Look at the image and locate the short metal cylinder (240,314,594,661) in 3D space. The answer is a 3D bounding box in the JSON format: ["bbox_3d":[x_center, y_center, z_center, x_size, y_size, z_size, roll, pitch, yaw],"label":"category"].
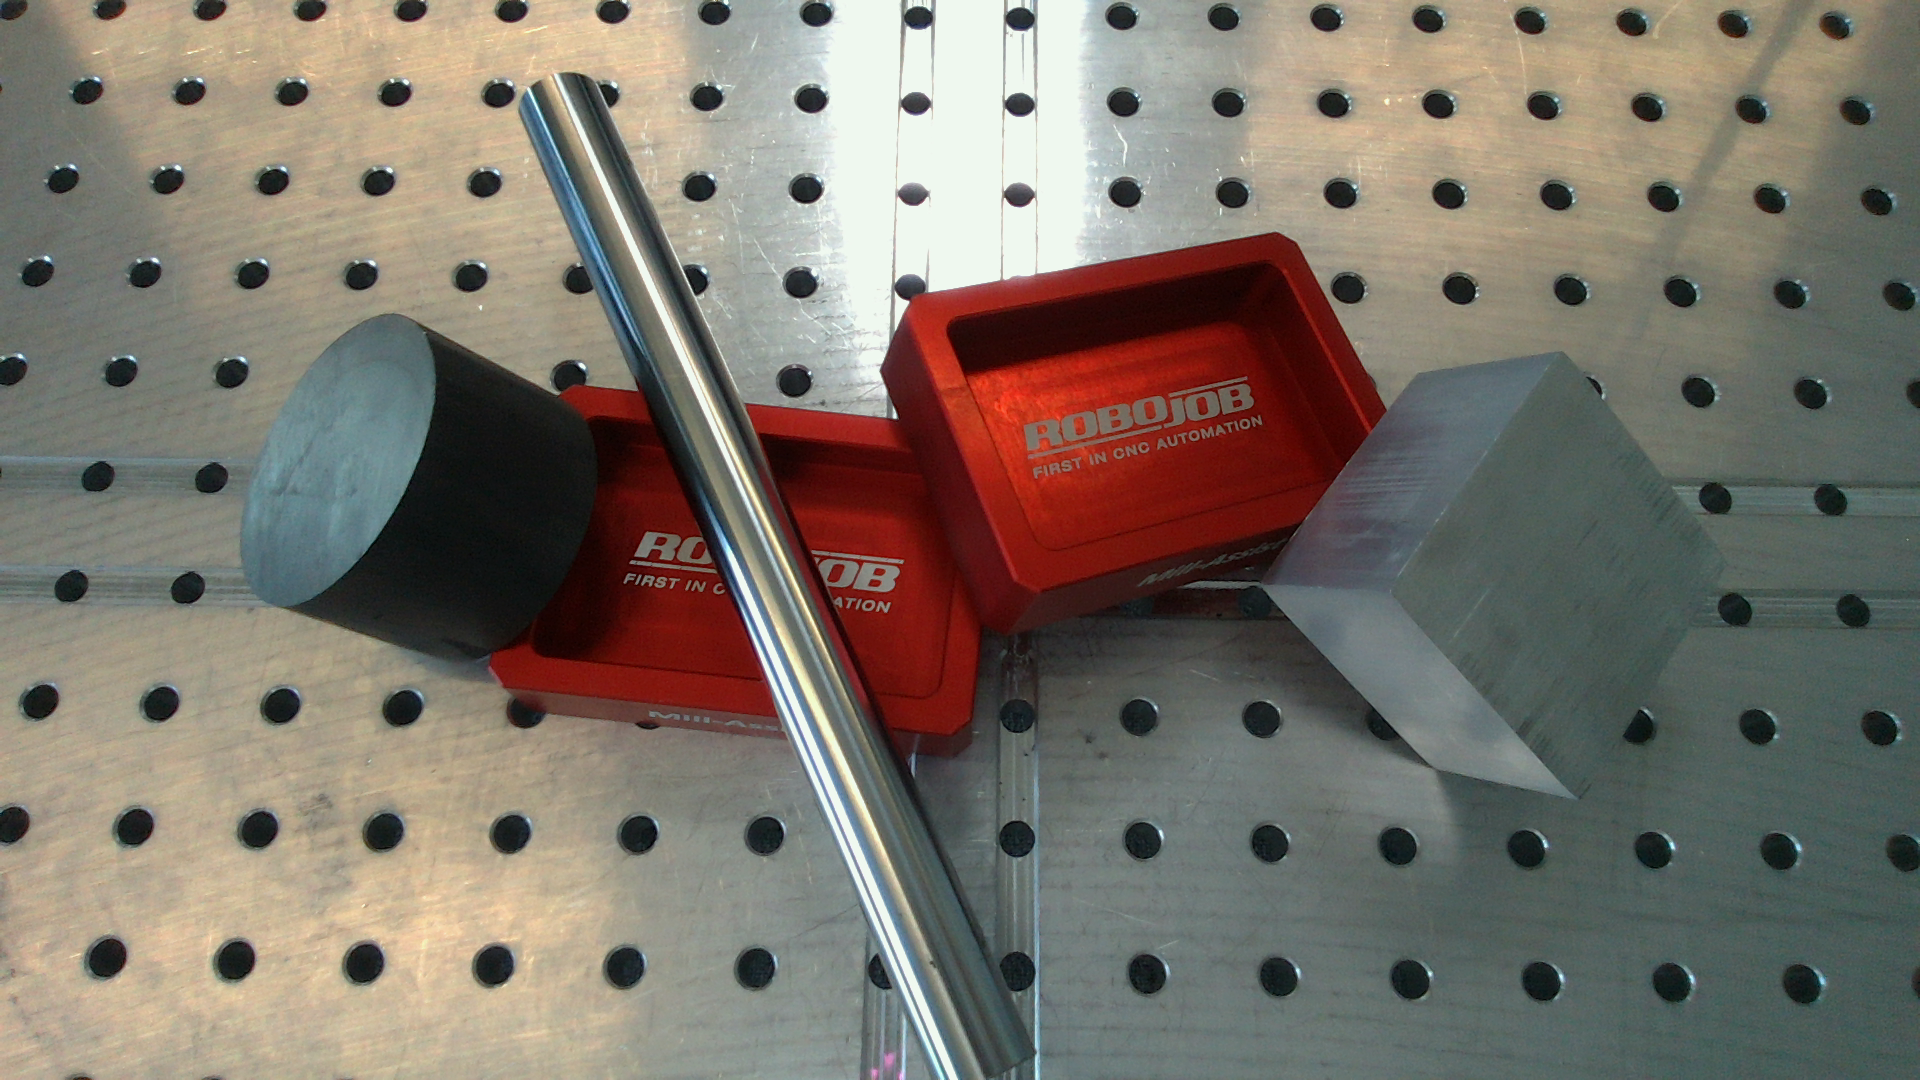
[{"bbox_3d":[-0.145,-0.013,0.369,0.080,0.050,0.080,-16,61,31],"label":"short metal cylinder"}]

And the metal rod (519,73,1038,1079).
[{"bbox_3d":[-0.056,-0.003,0.366,0.025,0.025,0.300,-24,72,-8],"label":"metal rod"}]

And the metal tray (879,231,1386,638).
[{"bbox_3d":[0.053,-0.034,0.387,0.130,0.030,0.090,-14,70,-23],"label":"metal tray"}]

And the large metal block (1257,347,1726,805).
[{"bbox_3d":[0.140,0.009,0.362,0.080,0.050,0.080,45,74,-18],"label":"large metal block"}]

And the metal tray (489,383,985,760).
[{"bbox_3d":[-0.056,0.008,0.391,0.130,0.030,0.090,6,70,2],"label":"metal tray"}]
